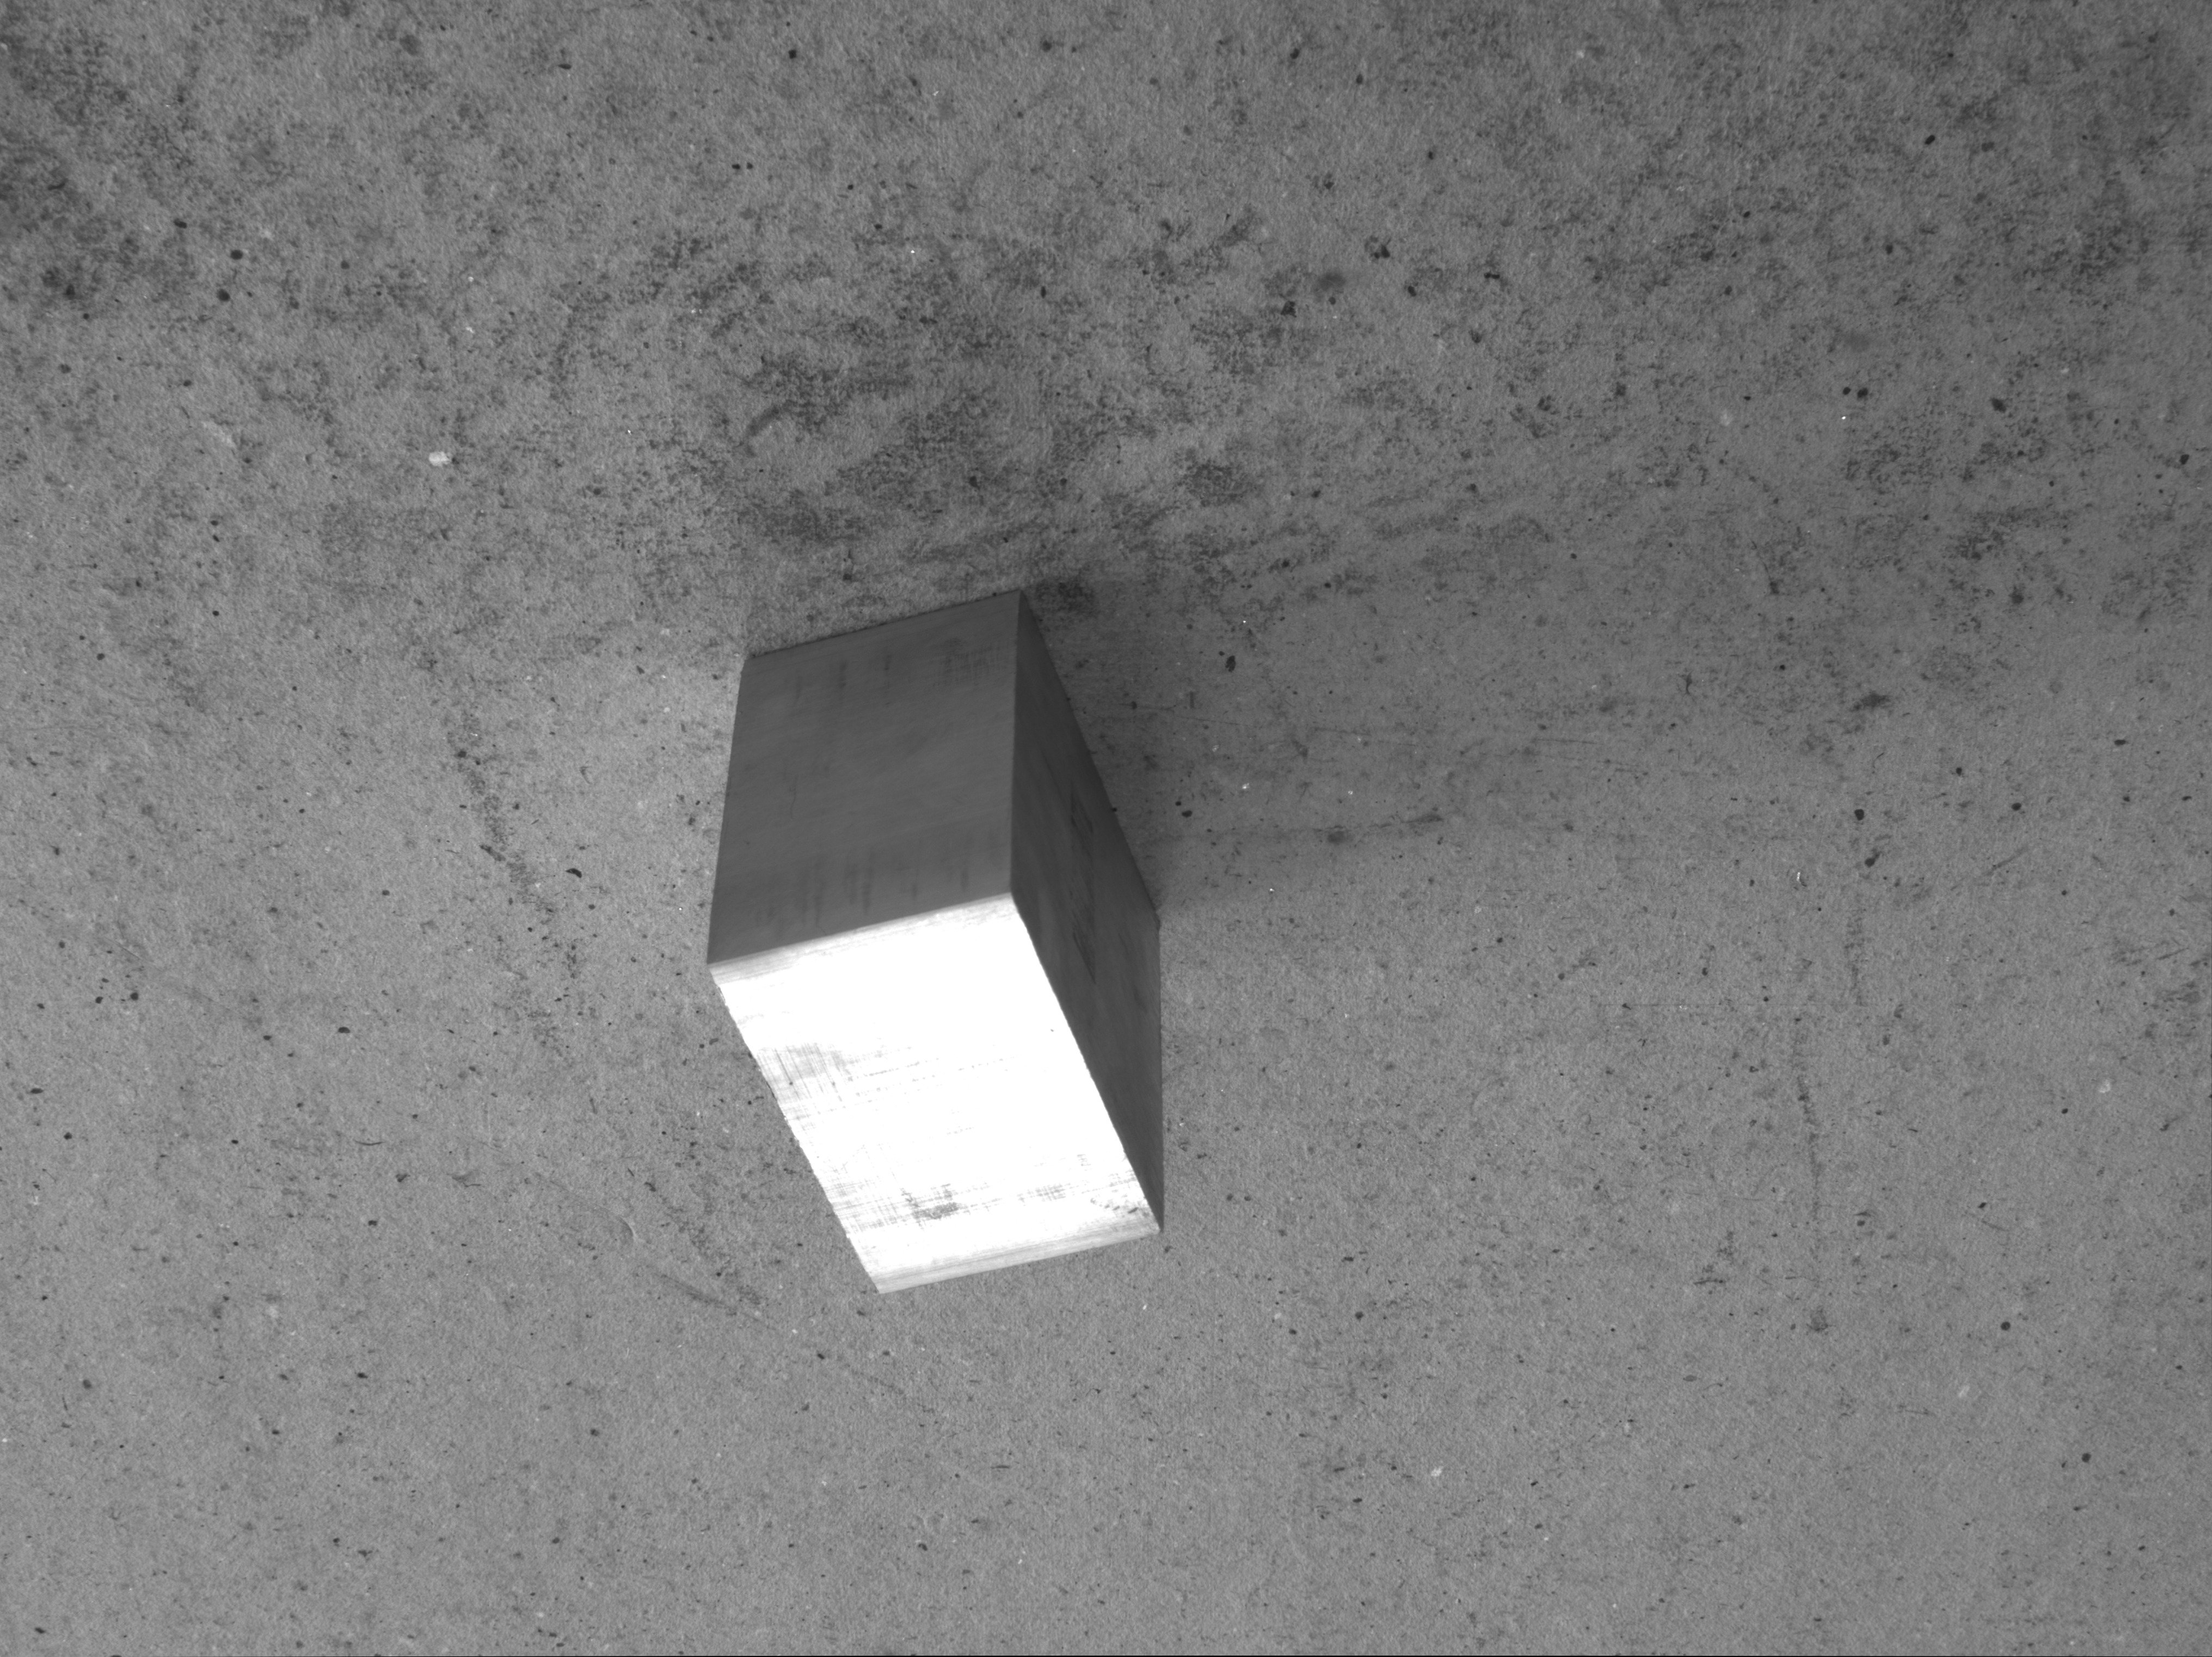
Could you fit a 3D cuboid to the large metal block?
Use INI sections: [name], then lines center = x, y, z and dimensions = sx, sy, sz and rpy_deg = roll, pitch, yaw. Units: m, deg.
[large metal block]
center = -0.027, 0.020, 0.620
dimensions = 0.050, 0.080, 0.080
rpy_deg = -13, 129, 11
